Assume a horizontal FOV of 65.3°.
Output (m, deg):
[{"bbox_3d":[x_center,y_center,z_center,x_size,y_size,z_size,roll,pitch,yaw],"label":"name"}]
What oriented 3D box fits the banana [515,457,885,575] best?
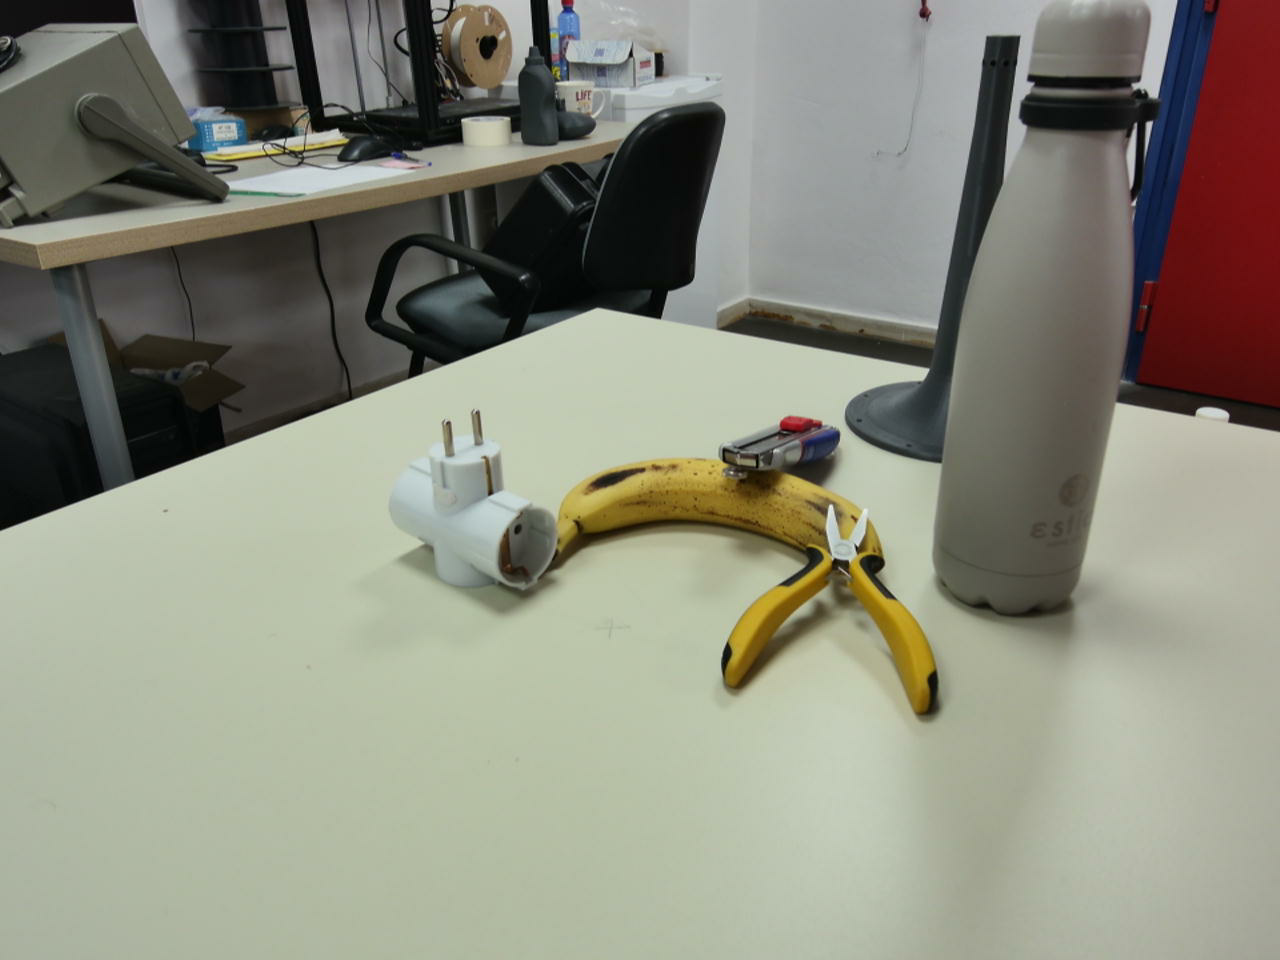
[{"bbox_3d":[0.038,0.019,0.552,0.186,0.038,0.097,3,24,9],"label":"banana"}]
